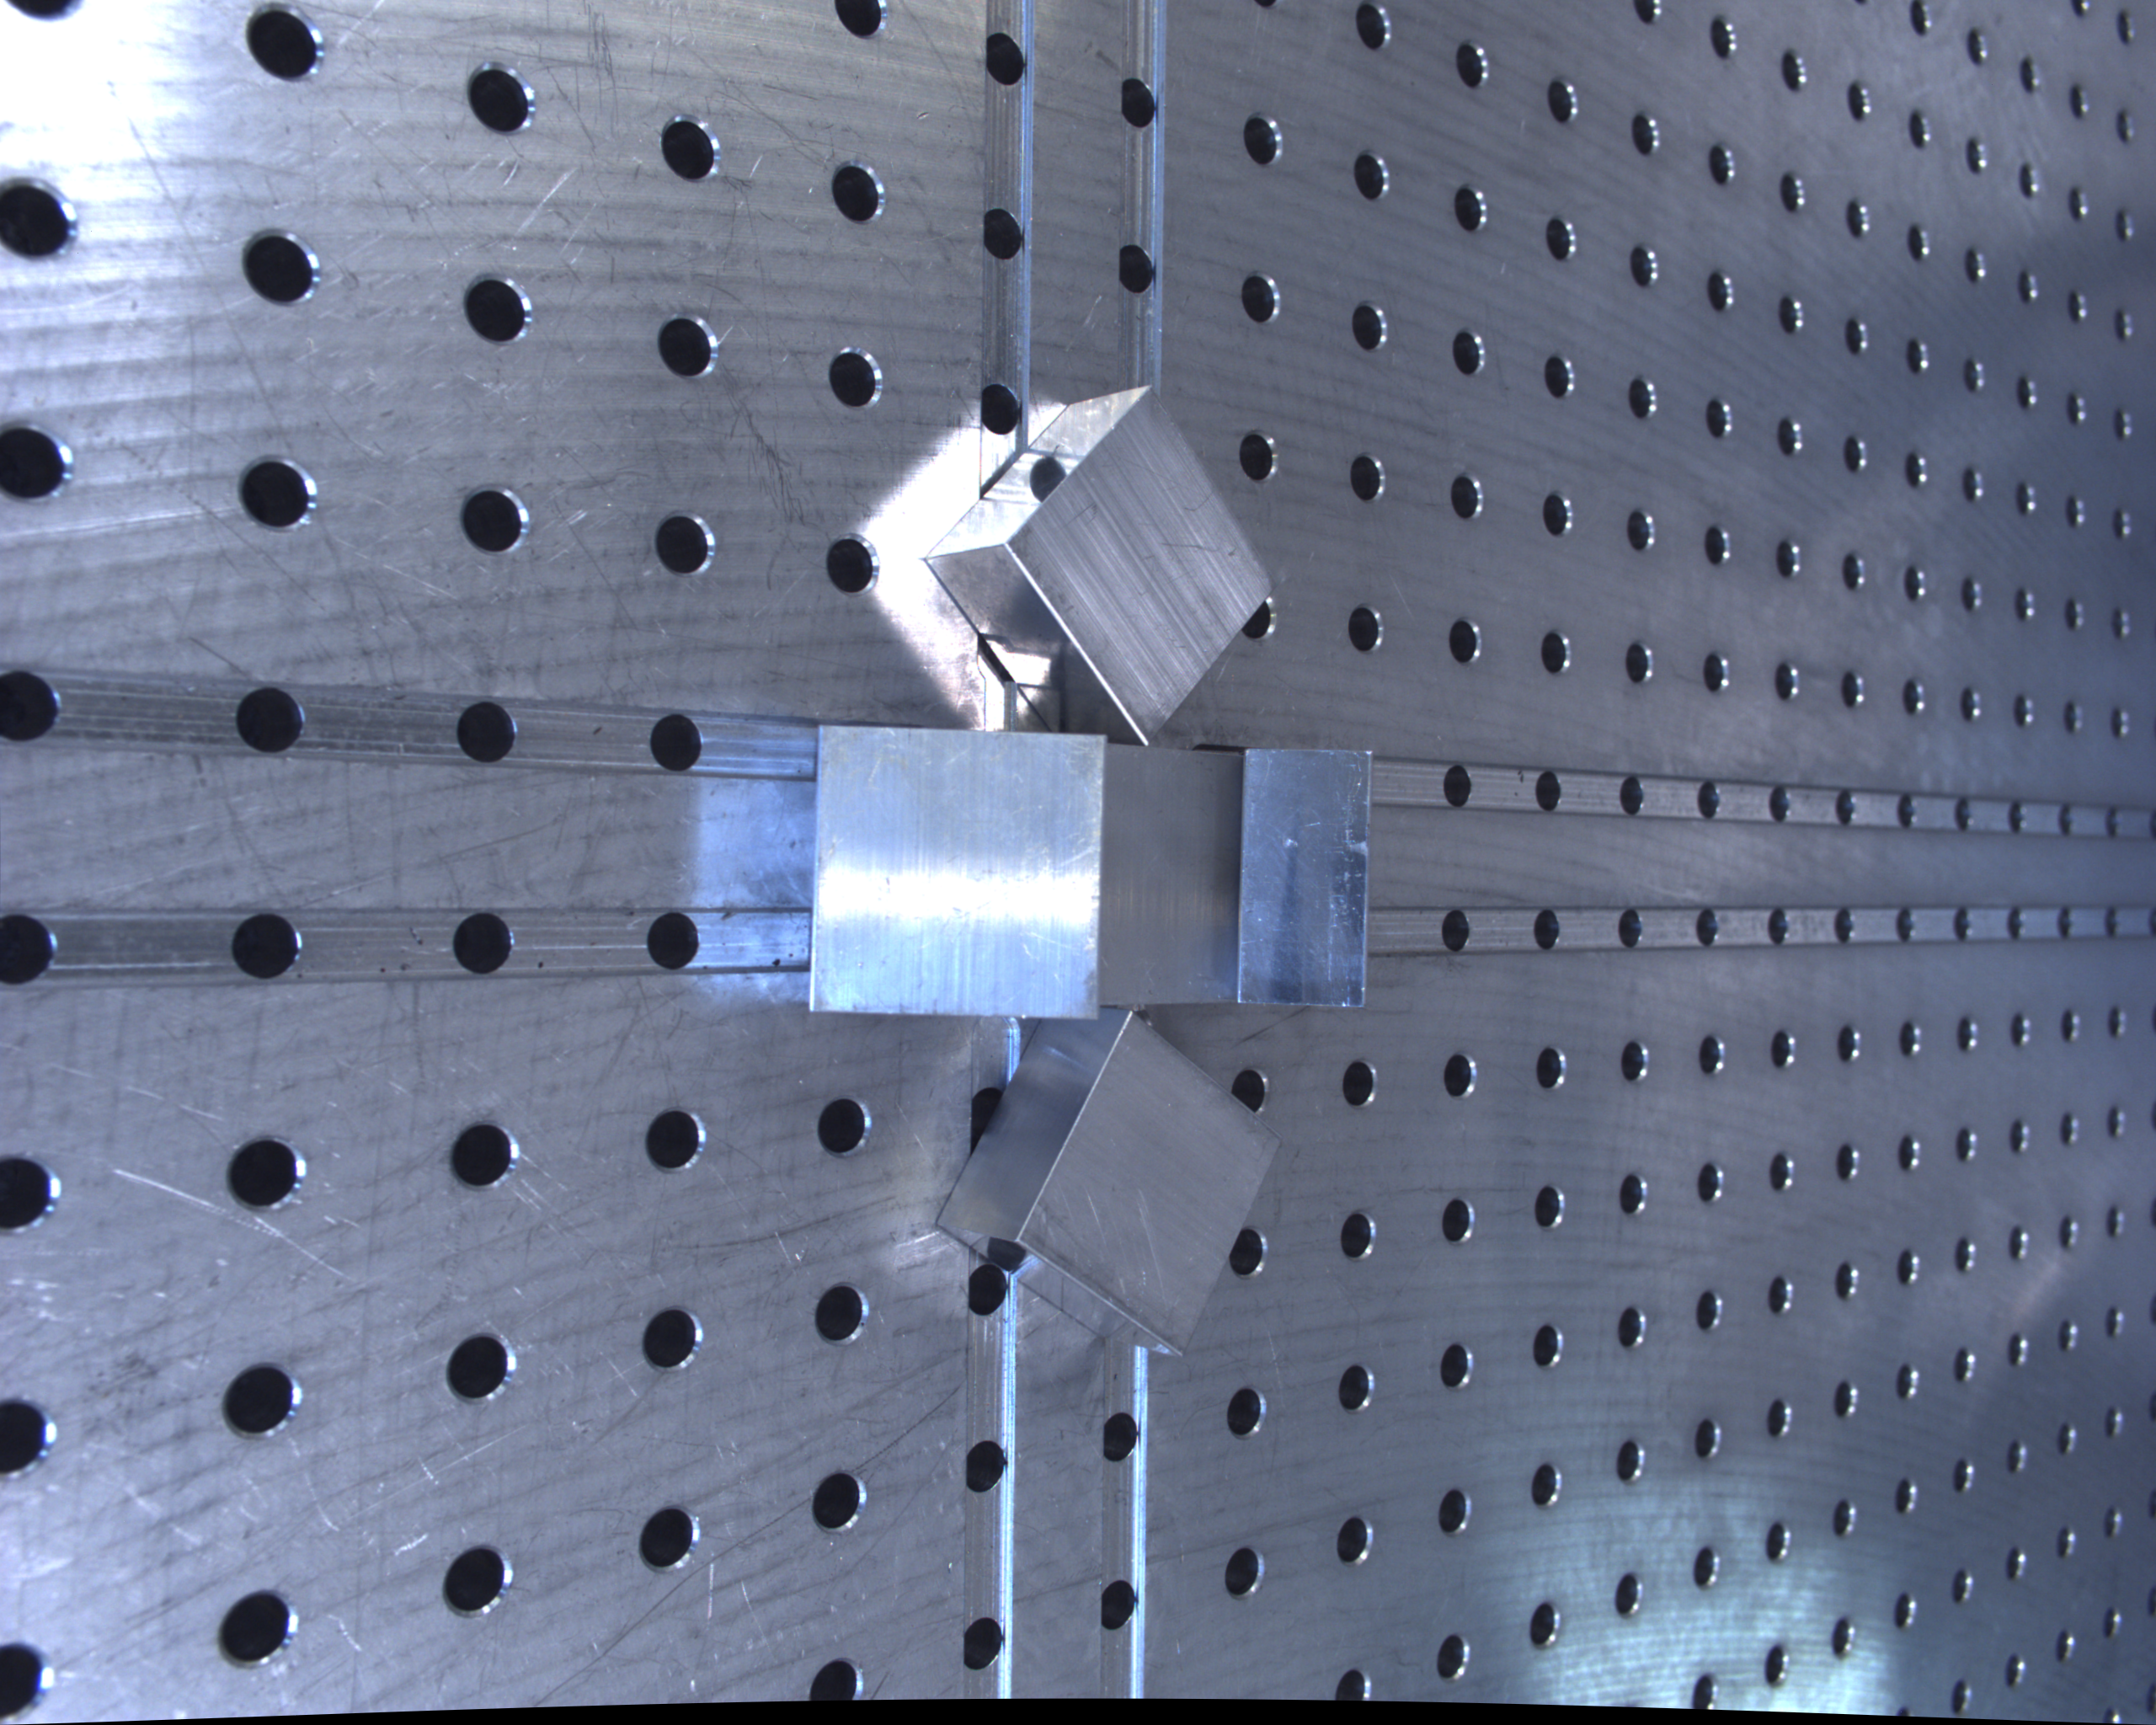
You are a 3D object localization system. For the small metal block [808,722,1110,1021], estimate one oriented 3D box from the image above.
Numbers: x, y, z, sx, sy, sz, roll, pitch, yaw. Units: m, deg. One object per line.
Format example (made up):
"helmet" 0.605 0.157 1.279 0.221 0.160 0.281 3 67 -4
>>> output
"small metal block" -0.021 0.002 0.374 0.050 0.025 0.050 2 89 -4

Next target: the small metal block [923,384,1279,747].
"small metal block" 0.006 -0.057 0.413 0.050 0.025 0.050 -52 120 -28

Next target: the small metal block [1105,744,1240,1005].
"small metal block" 0.007 0.003 0.413 0.050 0.025 0.050 2 88 -40

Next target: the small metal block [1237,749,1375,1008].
"small metal block" 0.048 0.004 0.431 0.050 0.025 0.050 11 80 -80

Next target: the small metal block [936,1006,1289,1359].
"small metal block" 0.008 0.063 0.414 0.050 0.025 0.050 41 66 -31
